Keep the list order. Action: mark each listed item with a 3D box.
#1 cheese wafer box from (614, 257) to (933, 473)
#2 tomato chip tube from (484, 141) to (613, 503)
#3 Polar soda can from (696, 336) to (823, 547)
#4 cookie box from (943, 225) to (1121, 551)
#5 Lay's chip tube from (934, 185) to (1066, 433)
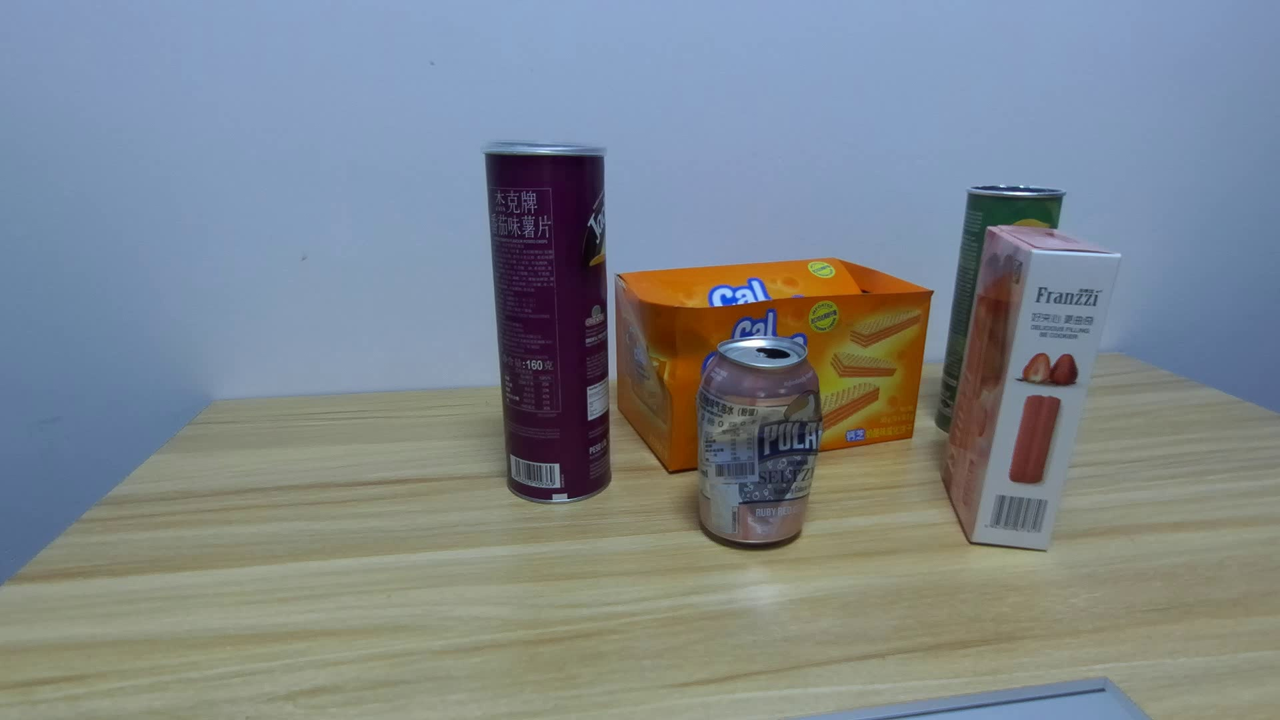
[{"bbox_3d":[0.101,-0.003,0.595,0.231,0.132,0.151,-5,20,-18],"label":"cheese wafer box"},{"bbox_3d":[-0.060,-0.024,0.484,0.078,0.234,0.078,0,18,0],"label":"tomato chip tube"},{"bbox_3d":[0.074,0.052,0.438,0.074,0.122,0.067,7,20,21],"label":"Polar soda can"},{"bbox_3d":[0.242,0.016,0.450,0.048,0.184,0.096,7,17,12],"label":"cookie box"},{"bbox_3d":[0.294,-0.038,0.583,0.071,0.202,0.071,1,19,0],"label":"Lay's chip tube"}]
